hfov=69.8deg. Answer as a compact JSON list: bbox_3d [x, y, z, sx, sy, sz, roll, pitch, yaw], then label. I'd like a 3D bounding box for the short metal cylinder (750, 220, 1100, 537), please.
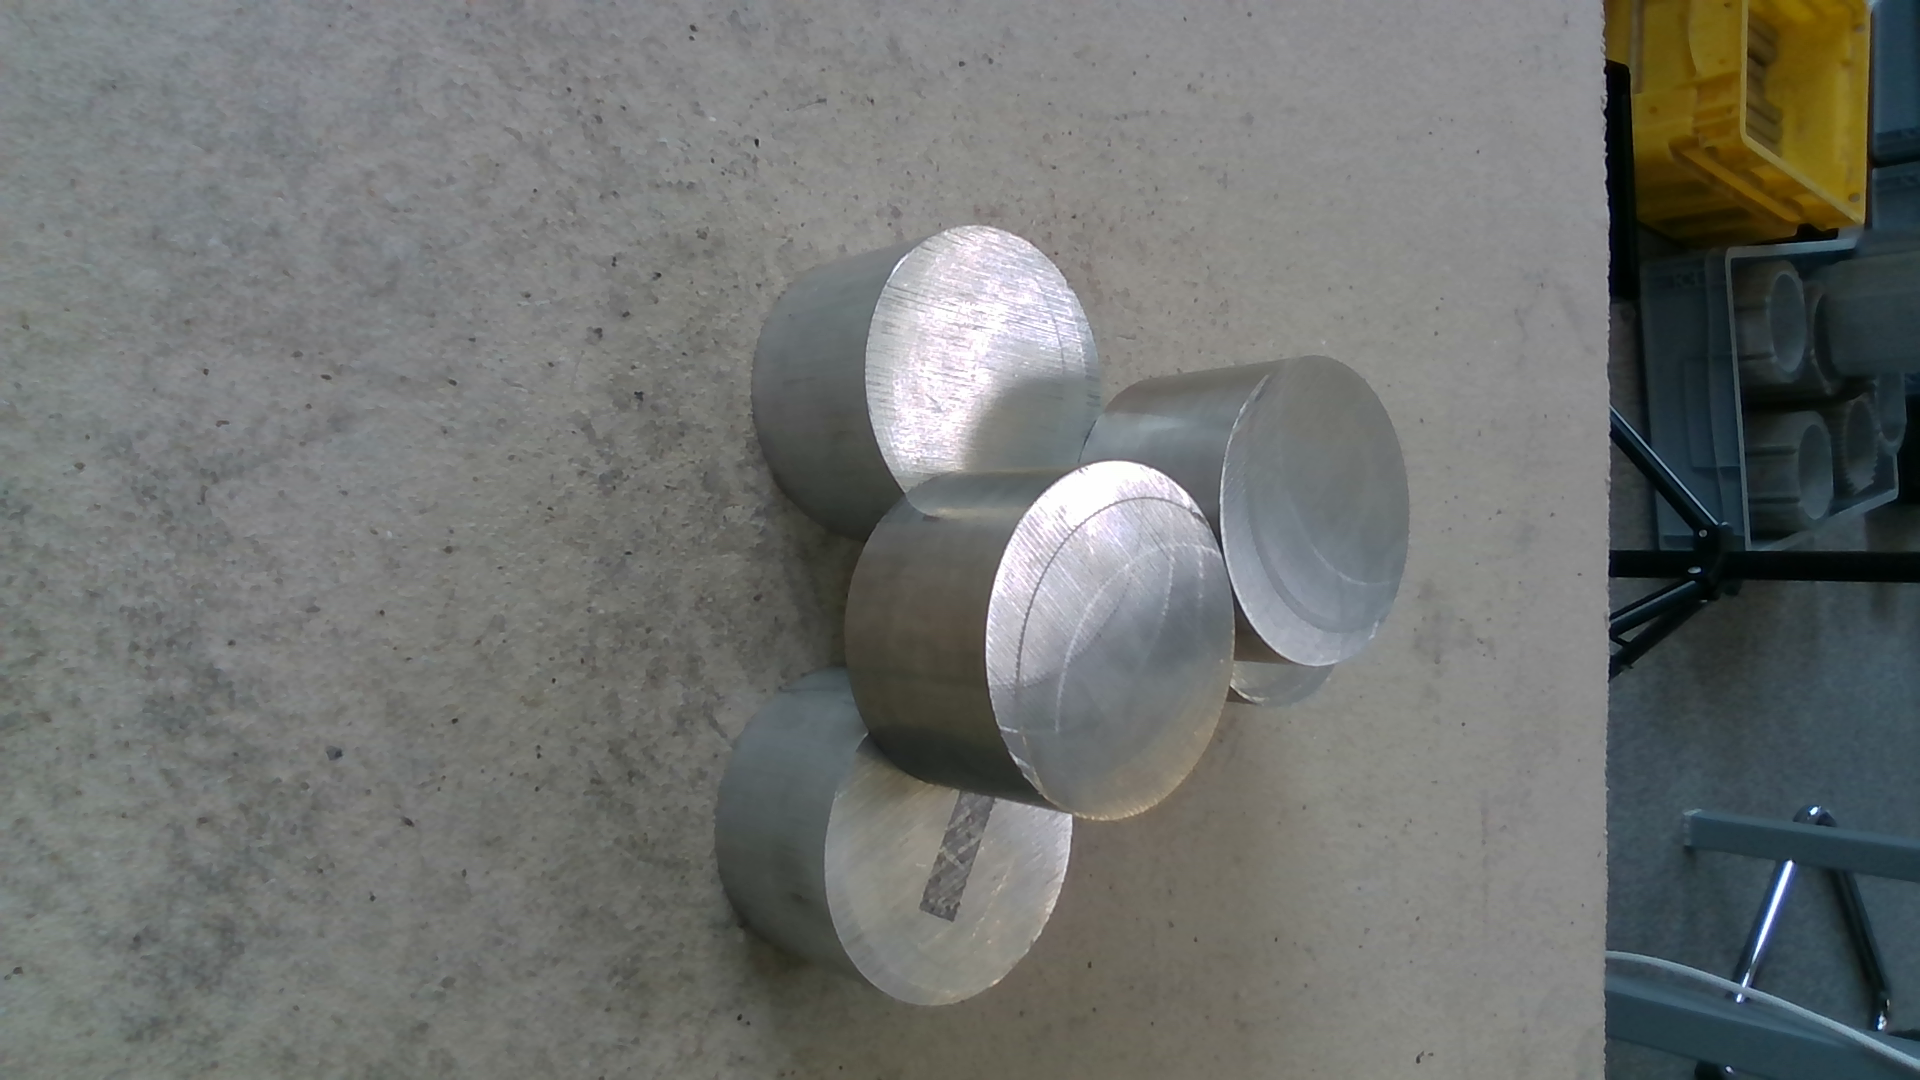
[{"bbox_3d":[-0.008,-0.041,0.368,0.080,0.050,0.080,0,90,-40],"label":"short metal cylinder"}]

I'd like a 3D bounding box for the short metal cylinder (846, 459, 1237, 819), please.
[{"bbox_3d":[0.020,0.022,0.326,0.080,0.050,0.080,0,91,-40],"label":"short metal cylinder"}]

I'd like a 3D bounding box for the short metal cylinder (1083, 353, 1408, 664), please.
[{"bbox_3d":[0.077,-0.008,0.374,0.080,0.050,0.080,0,89,-40],"label":"short metal cylinder"}]

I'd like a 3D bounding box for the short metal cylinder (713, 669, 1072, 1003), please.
[{"bbox_3d":[-0.017,0.074,0.361,0.080,0.050,0.080,0,90,-40],"label":"short metal cylinder"}]

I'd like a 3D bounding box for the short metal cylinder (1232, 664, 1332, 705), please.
[{"bbox_3d":[0.083,0.011,0.445,0.080,0.050,0.080,0,90,-40],"label":"short metal cylinder"}]
